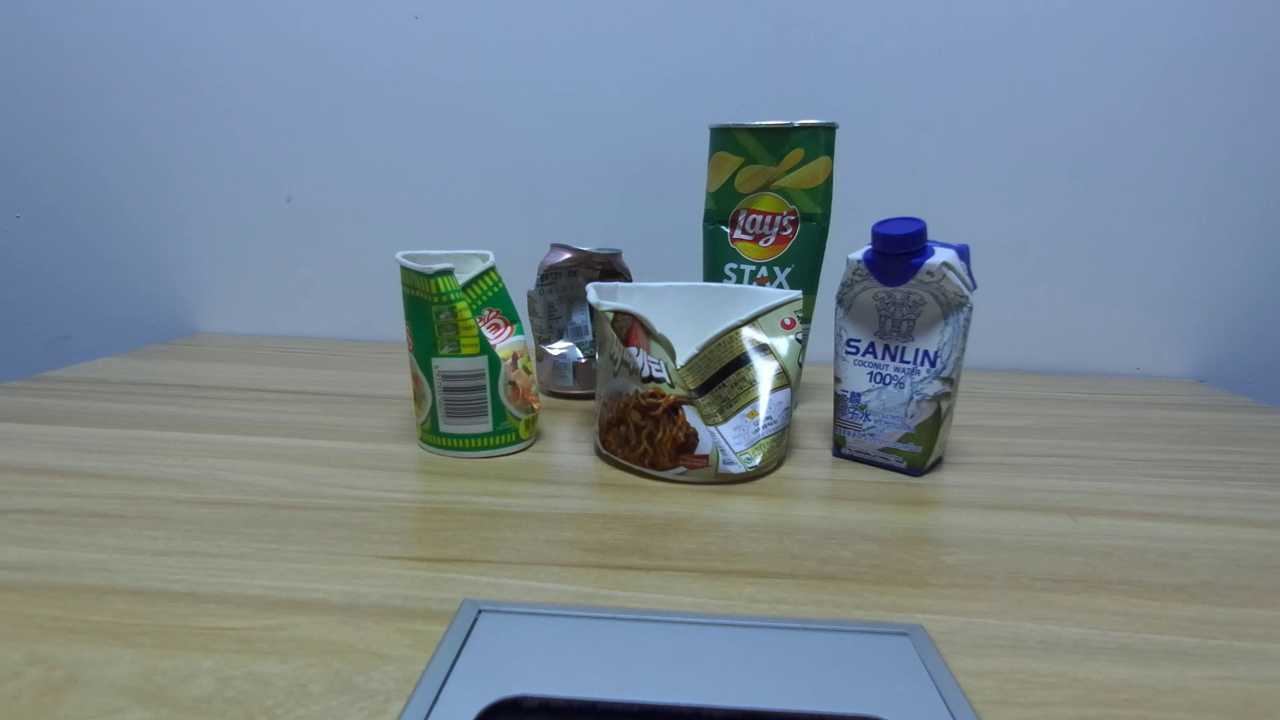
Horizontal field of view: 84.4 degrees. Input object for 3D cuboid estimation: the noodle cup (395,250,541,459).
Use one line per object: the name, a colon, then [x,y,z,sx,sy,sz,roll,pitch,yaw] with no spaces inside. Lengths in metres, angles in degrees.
noodle cup: [-0.097,-0.007,0.413,0.075,0.122,0.083,3,20,40]

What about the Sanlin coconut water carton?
Sanlin coconut water carton: [0.148,-0.009,0.405,0.077,0.142,0.058,11,21,37]

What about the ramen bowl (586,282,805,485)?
ramen bowl: [0.030,0.005,0.415,0.137,0.098,0.137,3,11,0]

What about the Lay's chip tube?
Lay's chip tube: [0.087,-0.066,0.509,0.075,0.199,0.068,-1,12,-15]

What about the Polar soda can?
Polar soda can: [-0.040,-0.029,0.532,0.070,0.114,0.074,10,17,17]
